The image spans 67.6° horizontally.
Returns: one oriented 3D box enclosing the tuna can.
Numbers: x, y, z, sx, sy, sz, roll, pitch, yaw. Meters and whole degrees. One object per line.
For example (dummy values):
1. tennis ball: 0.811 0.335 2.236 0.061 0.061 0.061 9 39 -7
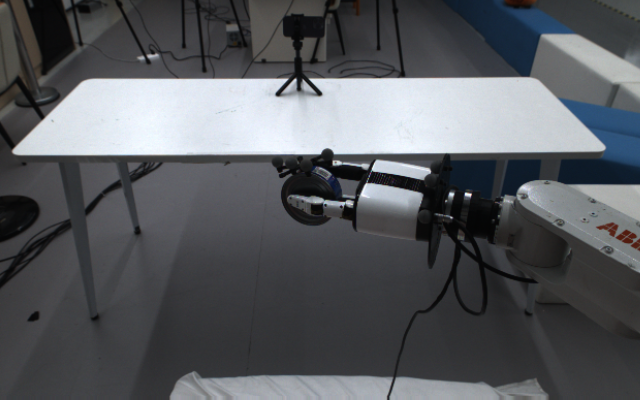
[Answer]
1. tuna can: -0.010 -0.003 0.709 0.085 0.085 0.034 13 28 15
